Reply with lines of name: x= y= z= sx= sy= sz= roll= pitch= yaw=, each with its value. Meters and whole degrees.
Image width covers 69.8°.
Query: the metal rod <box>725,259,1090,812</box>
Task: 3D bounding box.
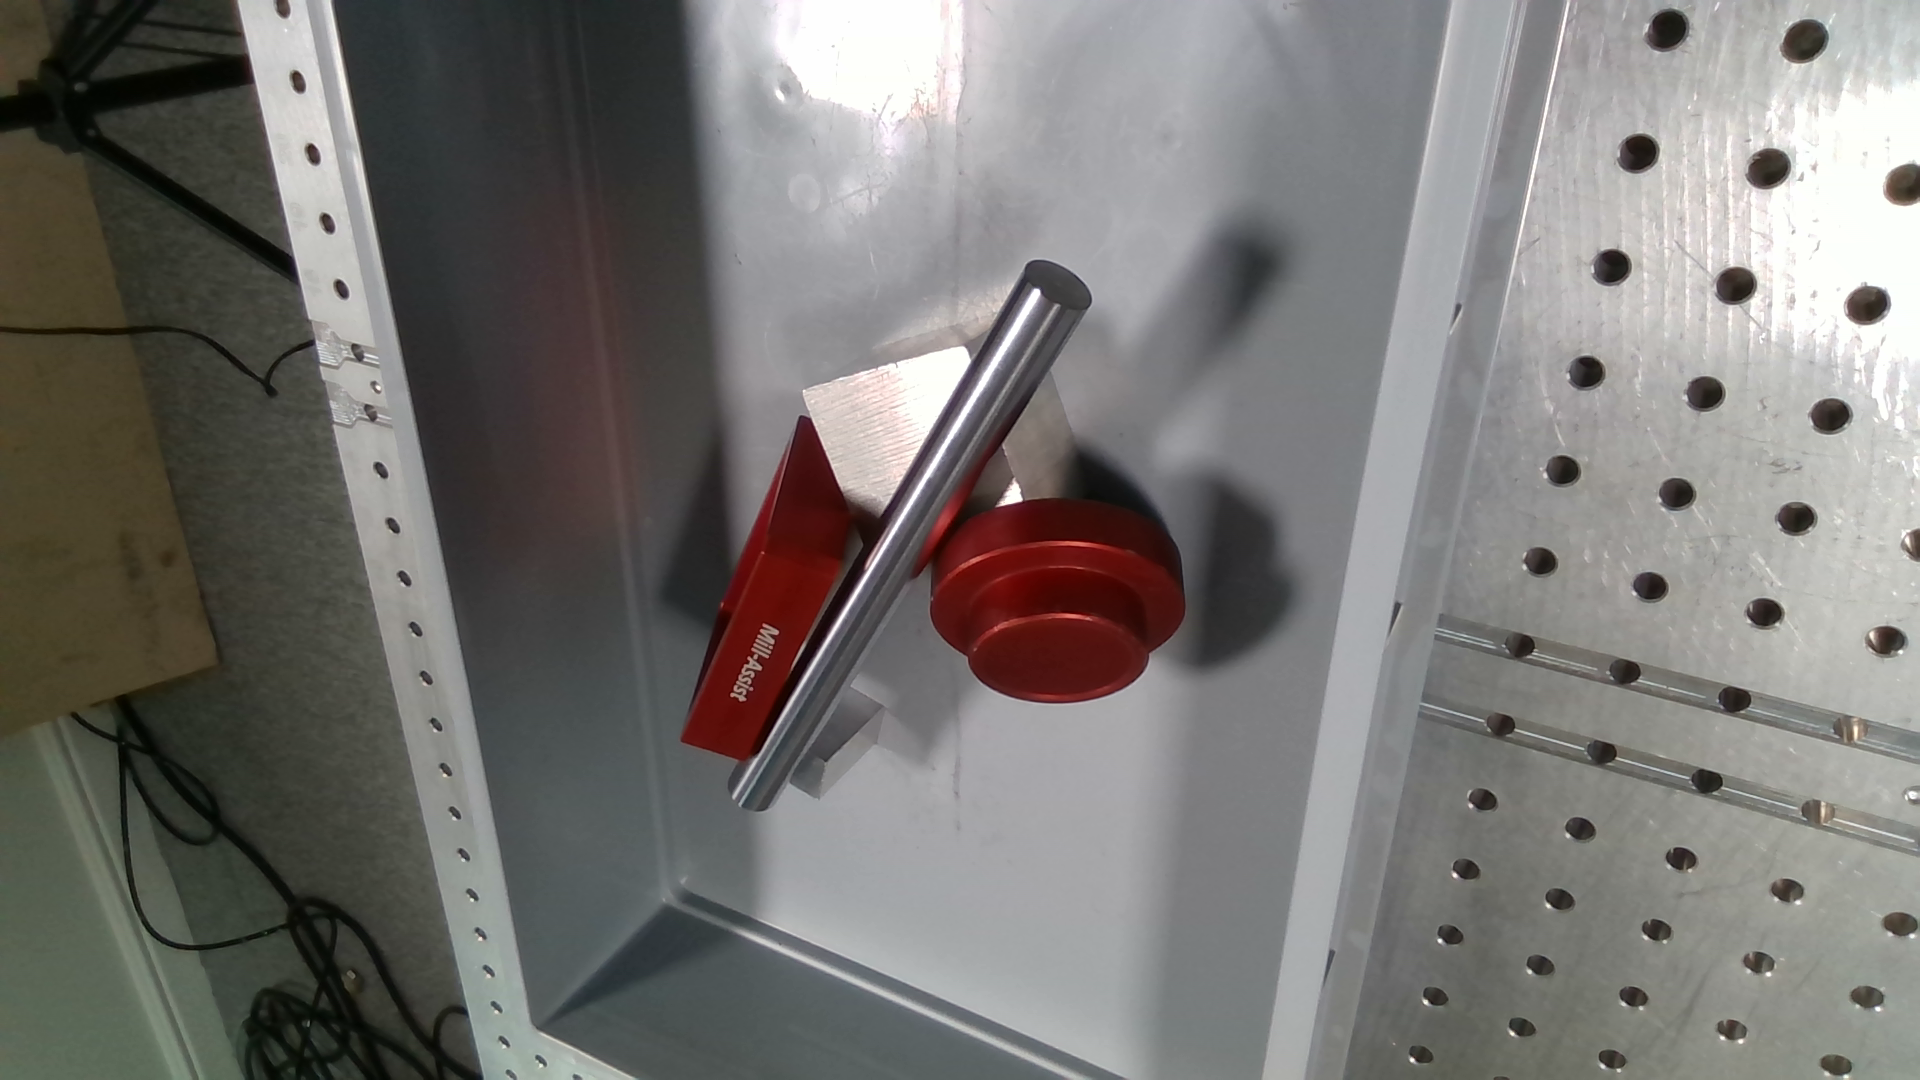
metal rod: x=-0.033 y=0.016 z=0.541 sx=0.025 sy=0.025 sz=0.301 roll=39 pitch=129 yaw=8

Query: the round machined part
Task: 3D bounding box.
round machined part: x=0.037 y=0.030 z=0.528 sx=0.098 sy=0.042 sz=0.098 roll=0 pitch=146 yaw=0

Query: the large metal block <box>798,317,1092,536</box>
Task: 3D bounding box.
large metal block: x=-0.005 y=-0.039 z=0.544 sx=0.080 sy=0.050 sz=0.080 roll=-9 pitch=110 yaw=35

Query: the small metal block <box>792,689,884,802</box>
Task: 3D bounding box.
small metal block: x=-0.072 y=0.090 z=0.656 sx=0.050 sy=0.050 sz=0.025 roll=27 pitch=126 yaw=17

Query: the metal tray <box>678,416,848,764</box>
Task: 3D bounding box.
metal tray: x=-0.083 y=0.023 z=0.595 sx=0.030 sy=0.090 sz=0.130 roll=20 pitch=129 yaw=-12
